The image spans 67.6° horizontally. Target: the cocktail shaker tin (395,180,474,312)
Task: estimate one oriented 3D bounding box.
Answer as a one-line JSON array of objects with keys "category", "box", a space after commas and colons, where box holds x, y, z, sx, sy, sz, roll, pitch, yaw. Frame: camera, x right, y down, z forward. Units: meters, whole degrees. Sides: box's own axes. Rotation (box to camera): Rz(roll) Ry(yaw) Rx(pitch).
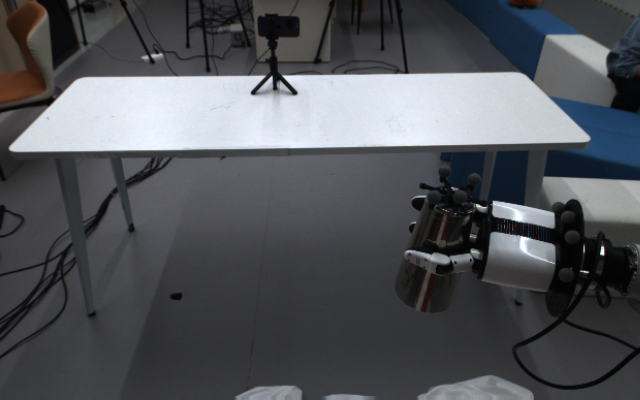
[{"category": "cocktail shaker tin", "box": [0.169, 0.067, 0.689, 0.093, 0.170, 0.093, 4, 36, -3]}]
